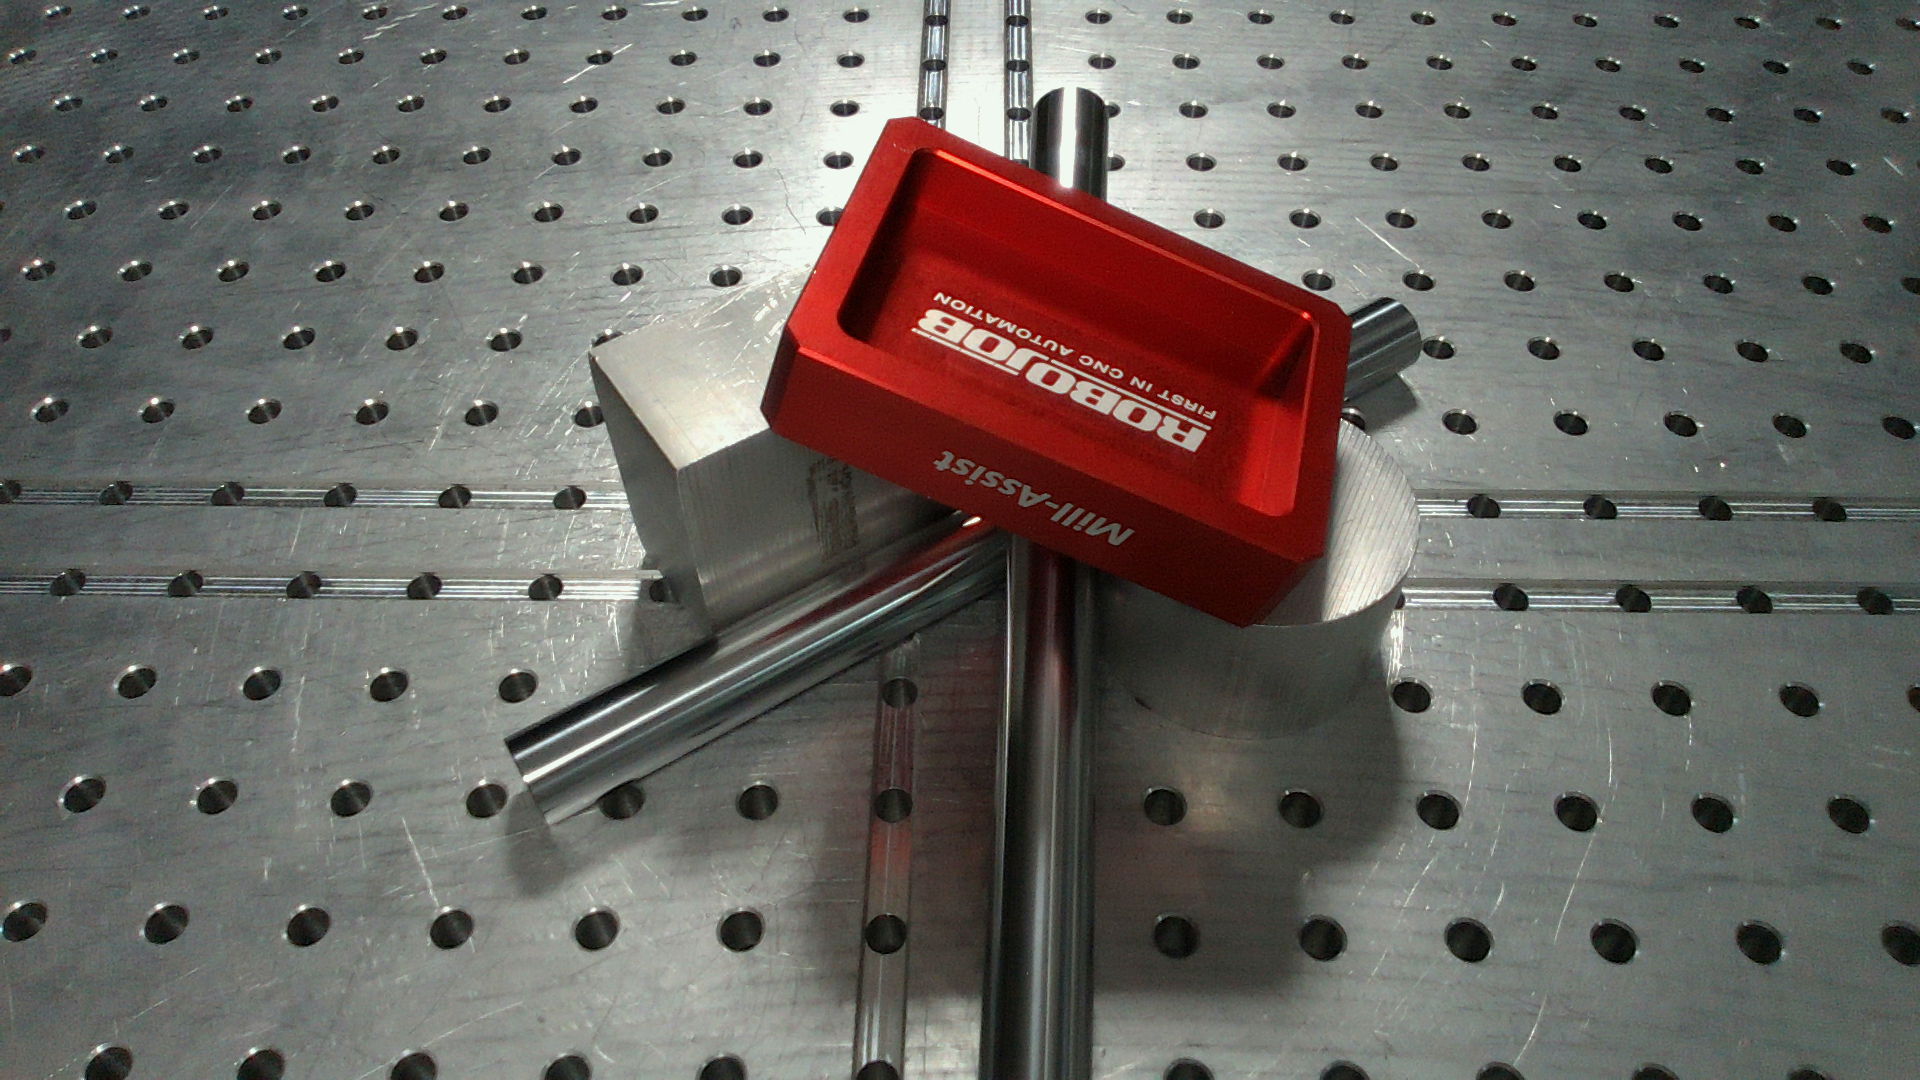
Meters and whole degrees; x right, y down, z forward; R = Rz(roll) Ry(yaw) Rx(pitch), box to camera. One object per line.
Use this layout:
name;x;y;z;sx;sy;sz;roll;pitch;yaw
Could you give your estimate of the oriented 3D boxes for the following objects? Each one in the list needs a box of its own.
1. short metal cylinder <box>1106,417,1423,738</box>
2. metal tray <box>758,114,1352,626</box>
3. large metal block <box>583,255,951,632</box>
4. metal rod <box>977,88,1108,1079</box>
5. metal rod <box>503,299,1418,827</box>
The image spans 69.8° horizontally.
short metal cylinder;0.078;0.006;0.372;0.080;0.050;0.080;0;50;0
metal tray;0.028;-0.044;0.336;0.130;0.030;0.090;22;51;-5
large metal block;-0.047;-0.024;0.378;0.080;0.080;0.050;-27;55;-21
metal rod;0.026;-0.010;0.373;0.025;0.025;0.300;3;59;3
metal rod;0.016;-0.003;0.398;0.301;0.025;0.025;-27;55;-21
